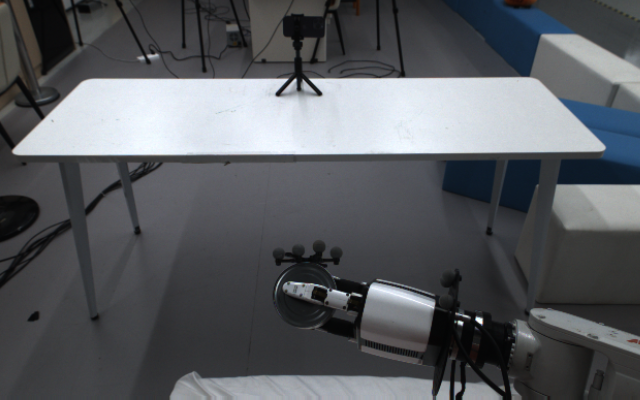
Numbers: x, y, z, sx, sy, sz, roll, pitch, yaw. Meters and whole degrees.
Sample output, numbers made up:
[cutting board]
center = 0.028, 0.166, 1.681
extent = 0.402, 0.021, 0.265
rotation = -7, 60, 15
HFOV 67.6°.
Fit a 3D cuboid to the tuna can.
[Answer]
[tuna can]
center = -0.016, 0.132, 0.641
extent = 0.085, 0.034, 0.085
rotation = -2, 69, 6
